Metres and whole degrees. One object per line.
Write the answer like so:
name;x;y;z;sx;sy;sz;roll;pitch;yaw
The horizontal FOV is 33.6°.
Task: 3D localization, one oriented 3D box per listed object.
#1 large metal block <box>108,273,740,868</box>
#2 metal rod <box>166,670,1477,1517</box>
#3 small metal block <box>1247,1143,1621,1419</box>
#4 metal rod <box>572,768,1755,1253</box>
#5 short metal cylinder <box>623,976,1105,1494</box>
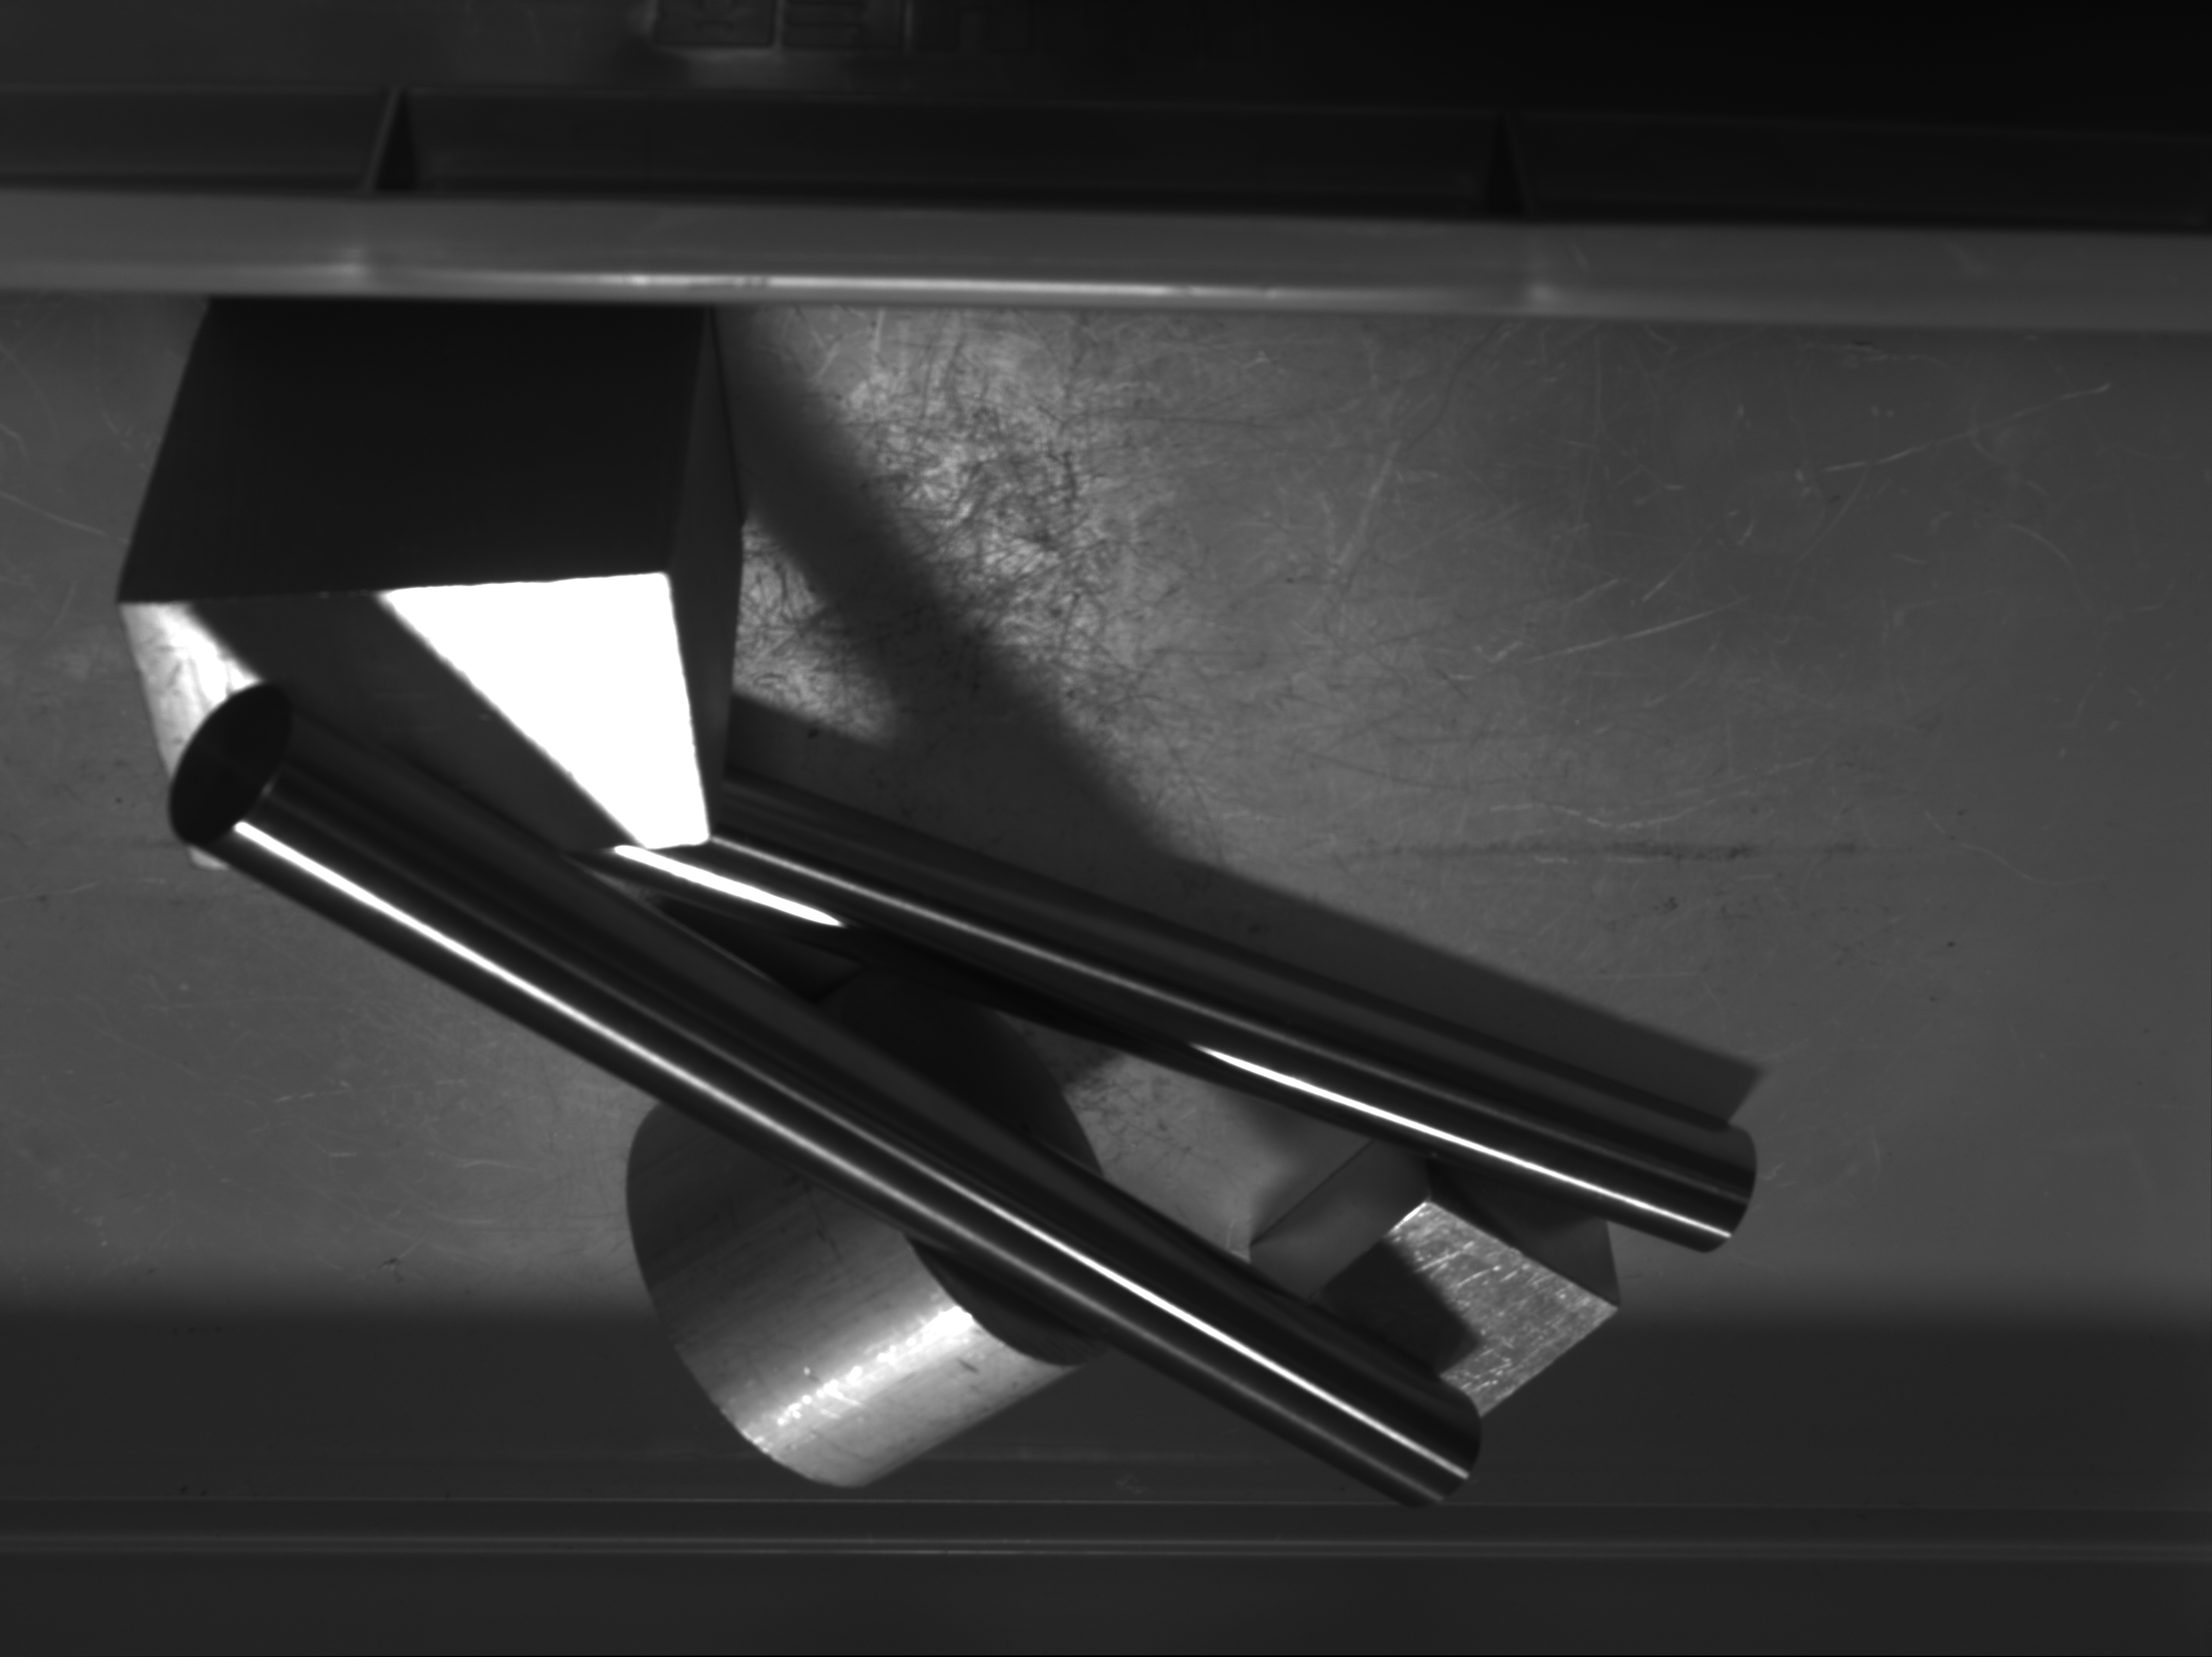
large metal block;-0.101;-0.041;0.564;0.080;0.080;0.050;-3;130;1
metal rod;-0.030;0.055;0.606;0.025;0.025;0.301;-32;136;23
small metal block;0.063;0.088;0.713;0.050;0.025;0.050;31;122;-25
metal rod;-0.018;0.020;0.653;0.301;0.025;0.025;20;127;-18
short metal cylinder;-0.041;0.072;0.659;0.050;0.080;0.080;-32;124;23
